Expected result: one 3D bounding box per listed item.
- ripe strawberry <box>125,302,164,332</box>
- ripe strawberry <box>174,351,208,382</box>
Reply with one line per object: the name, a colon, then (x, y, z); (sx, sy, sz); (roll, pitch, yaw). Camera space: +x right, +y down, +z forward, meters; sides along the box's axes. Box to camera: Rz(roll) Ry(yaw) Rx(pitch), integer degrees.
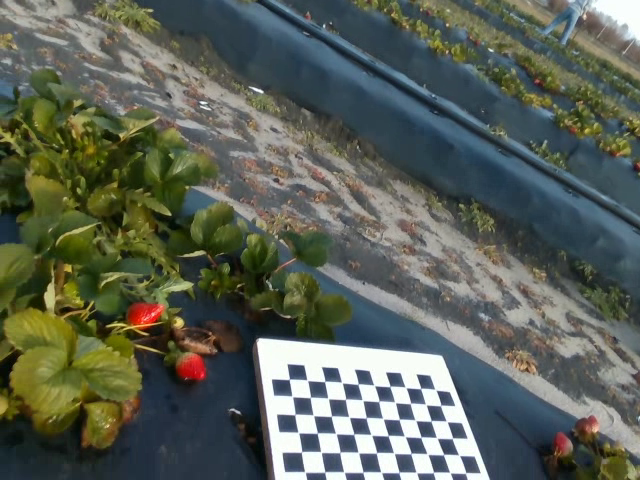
ripe strawberry: (-0.208, 0.085, 0.745); (0.048, 0.040, 0.032); (-29, -34, 0)
ripe strawberry: (-0.148, 0.147, 0.718); (0.043, 0.030, 0.035); (40, 39, 20)
